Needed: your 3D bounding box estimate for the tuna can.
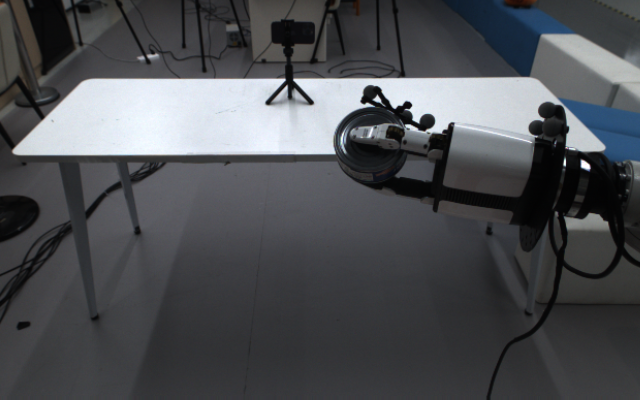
[{"bbox_3d":[0.064,-0.059,0.562,0.085,0.034,0.085,-4,69,10],"label":"tuna can"}]
